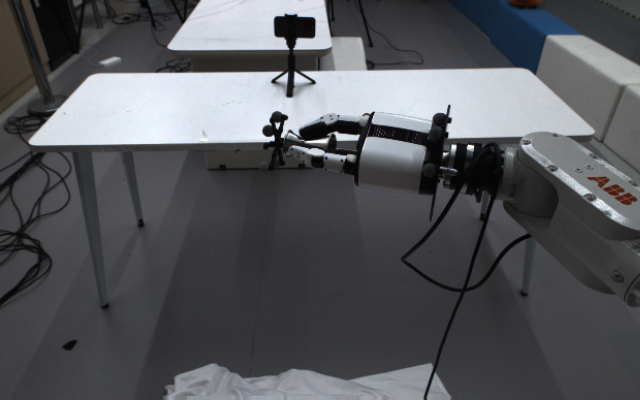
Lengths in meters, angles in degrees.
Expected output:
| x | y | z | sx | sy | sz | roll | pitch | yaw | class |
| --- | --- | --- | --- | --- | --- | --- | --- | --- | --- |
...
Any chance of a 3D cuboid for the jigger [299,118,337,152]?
| x | y | z | sx | sy | sz | roll | pitch | yaw | class |
| --- | --- | --- | --- | --- | --- | --- | --- | --- | --- |
| -0.009 | -0.081 | 0.700 | 0.071 | 0.043 | 0.043 | 9 | 35 | 17 | jigger |
